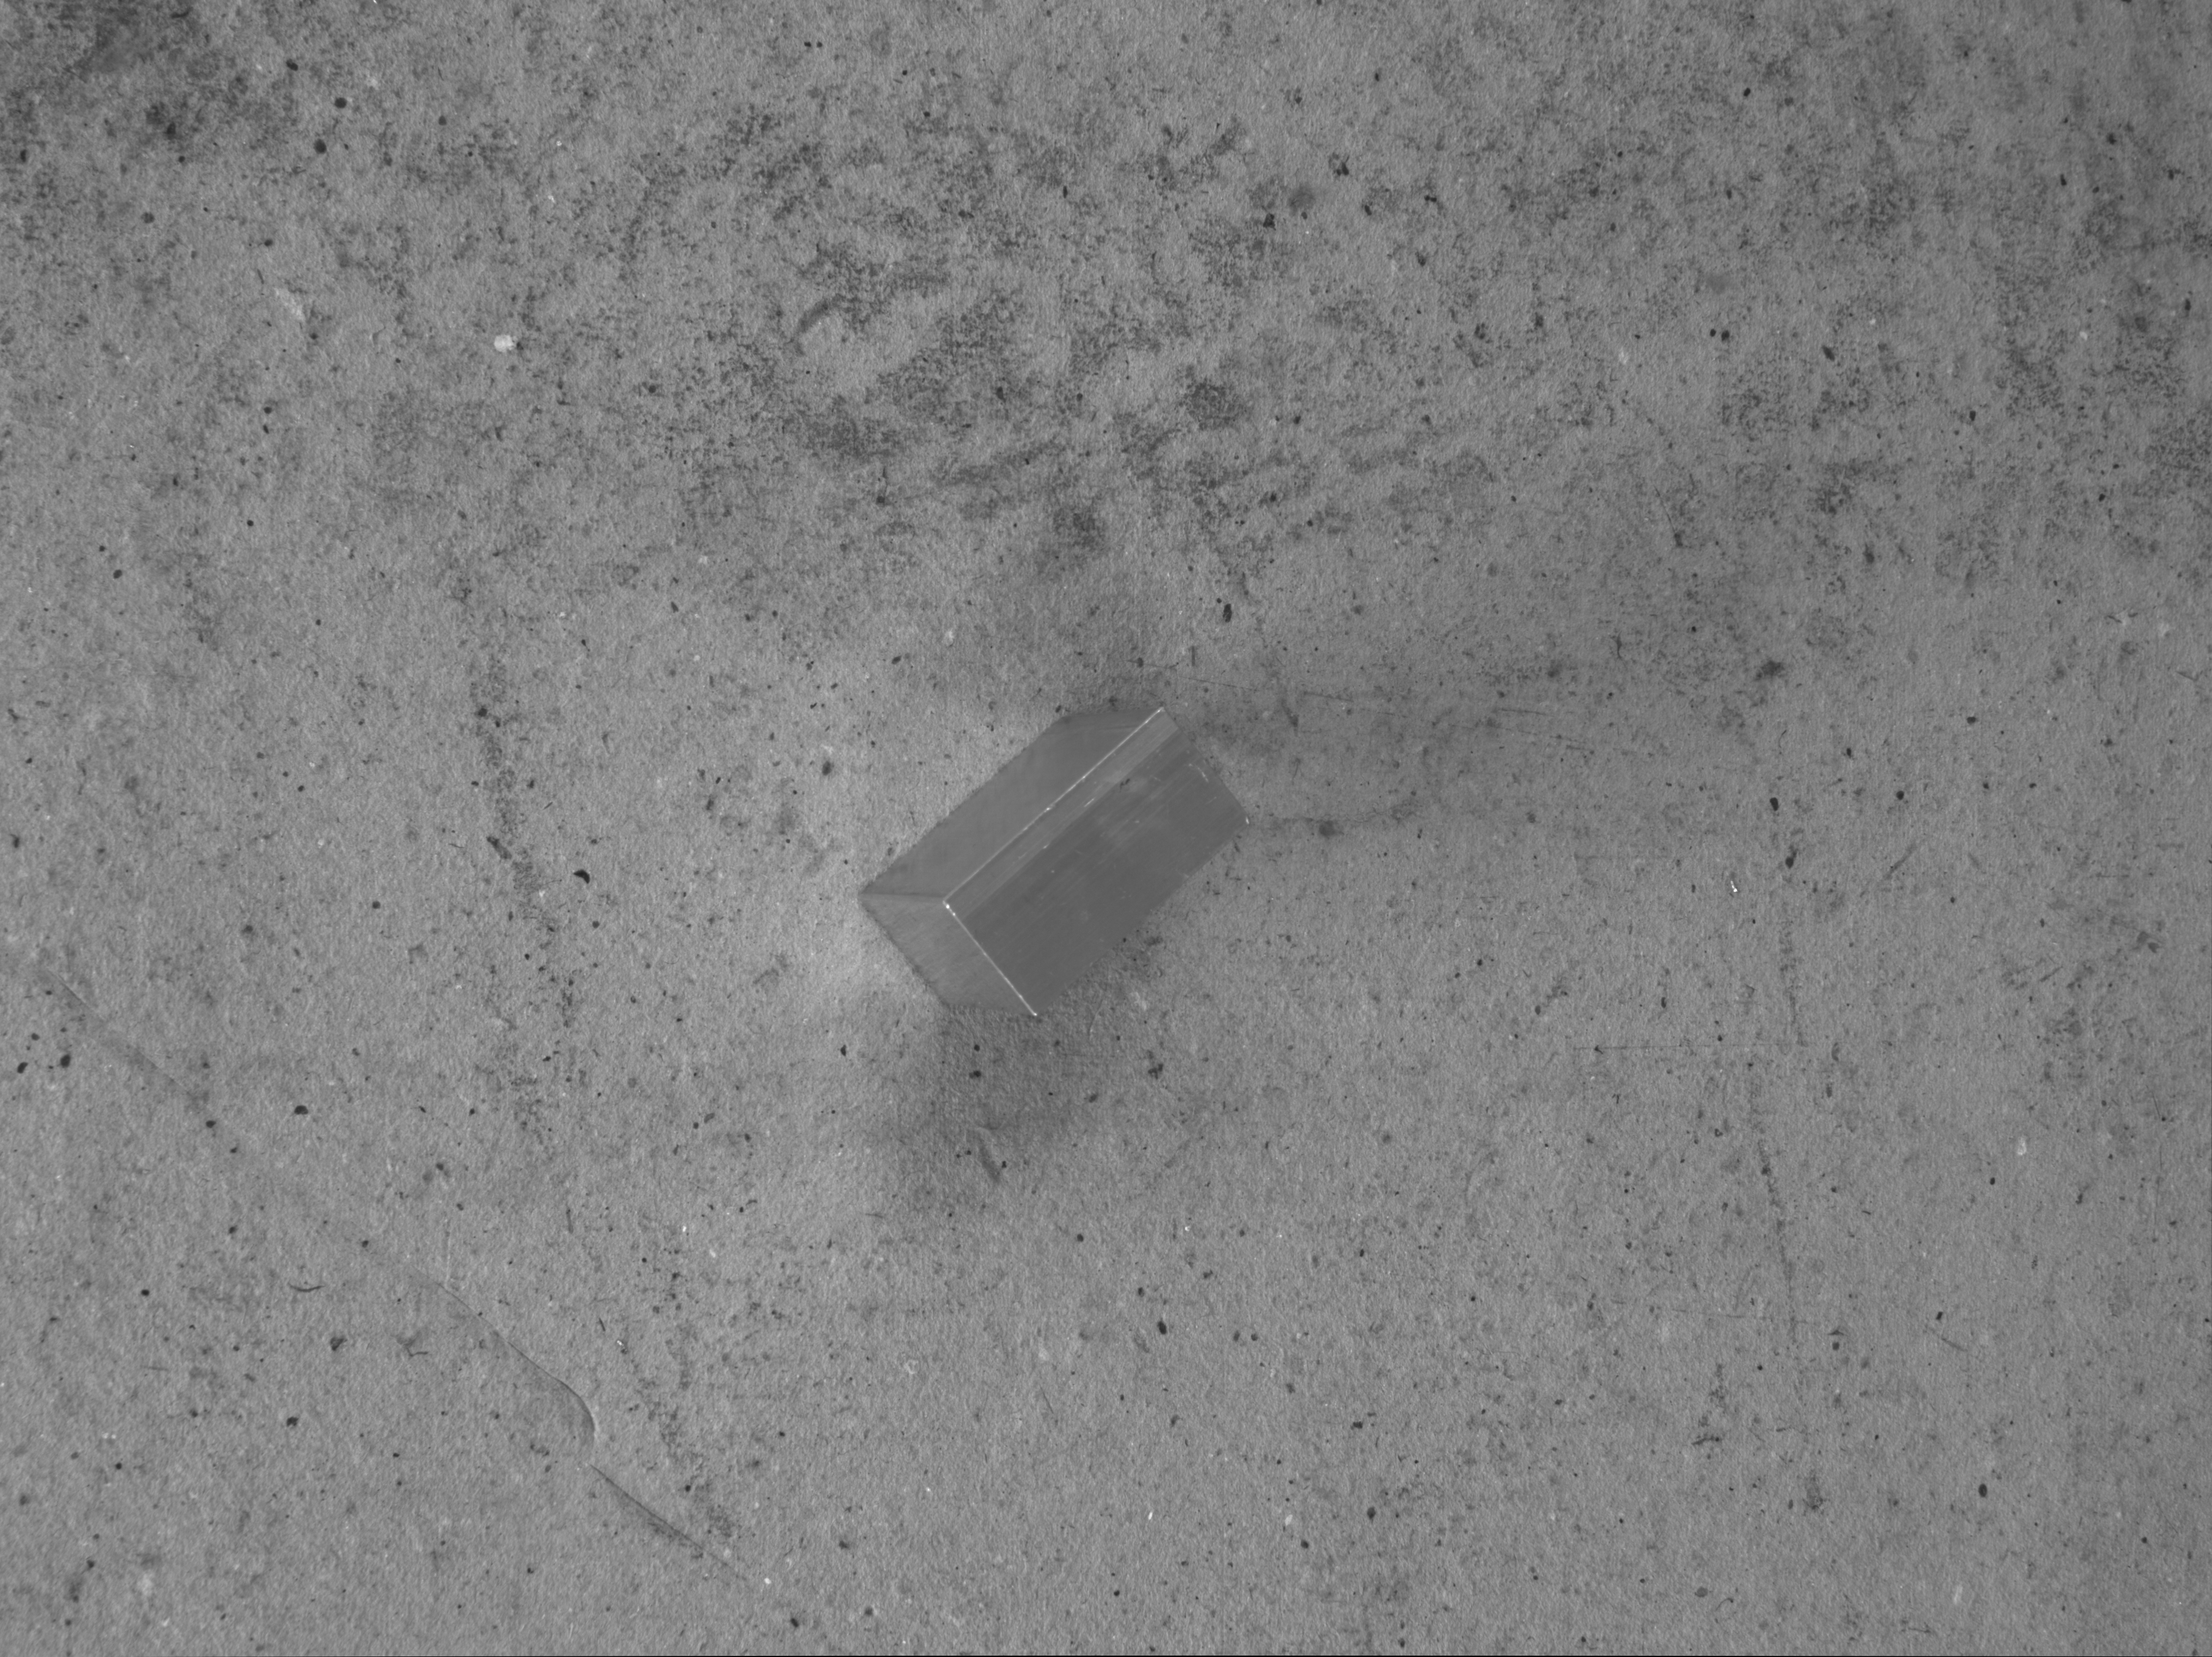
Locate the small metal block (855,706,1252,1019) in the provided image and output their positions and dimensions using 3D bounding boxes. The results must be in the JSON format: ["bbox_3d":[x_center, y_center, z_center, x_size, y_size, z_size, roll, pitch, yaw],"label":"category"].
[{"bbox_3d":[-0.010,0.005,0.627,0.050,0.050,0.025,-42,103,-15],"label":"small metal block"}]
